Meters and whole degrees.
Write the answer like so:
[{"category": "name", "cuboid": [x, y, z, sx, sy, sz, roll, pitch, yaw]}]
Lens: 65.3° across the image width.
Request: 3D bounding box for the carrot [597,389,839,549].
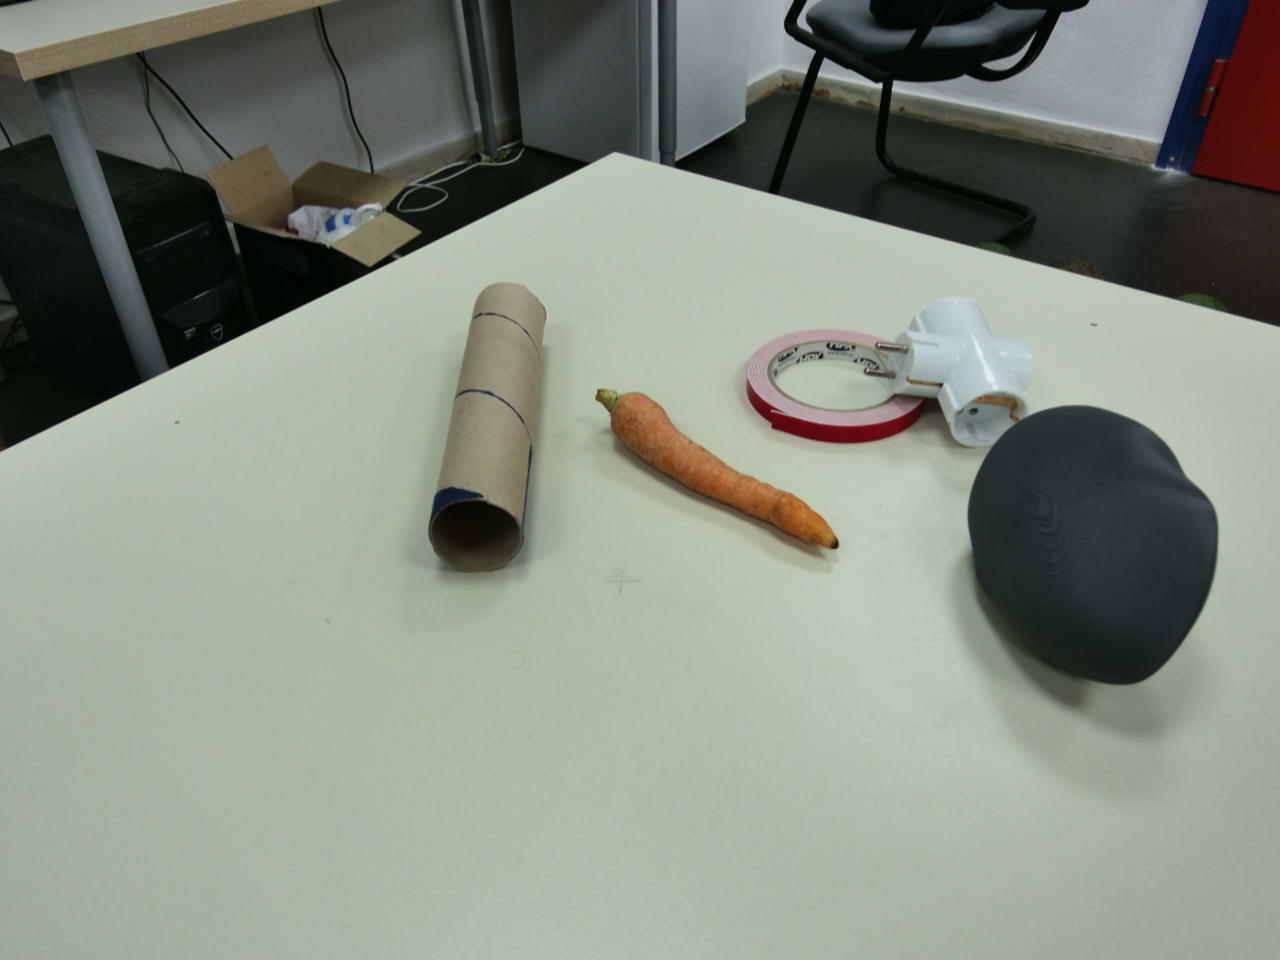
[{"category": "carrot", "cuboid": [0.037, -0.008, 0.543, 0.030, 0.032, 0.173, -30, 46, -32]}]
